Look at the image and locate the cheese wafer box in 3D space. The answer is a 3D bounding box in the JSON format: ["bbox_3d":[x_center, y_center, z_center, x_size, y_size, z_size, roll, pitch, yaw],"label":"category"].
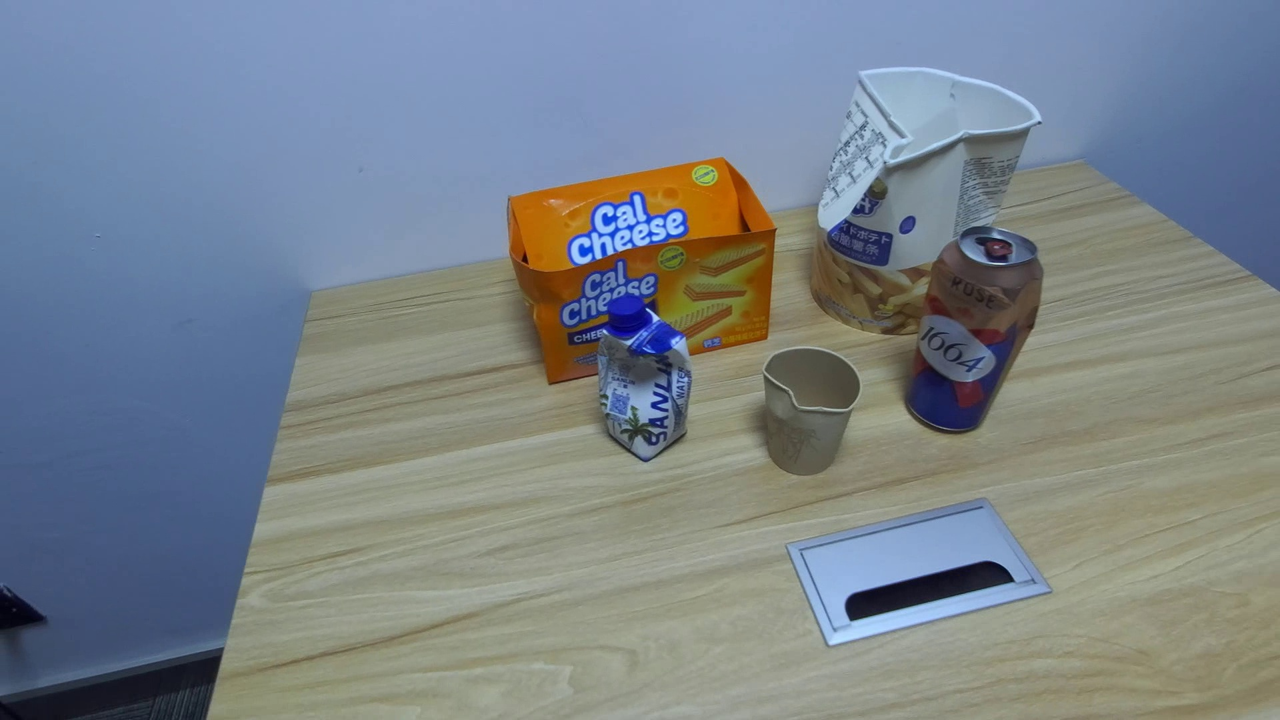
[{"bbox_3d":[-0.002,-0.086,0.681,0.231,0.132,0.151,-11,44,-7],"label":"cheese wafer box"}]

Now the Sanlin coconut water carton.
[{"bbox_3d":[0.002,0.019,0.552,0.057,0.145,0.068,-39,59,-23],"label":"Sanlin coconut water carton"}]

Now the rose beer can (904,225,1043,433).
[{"bbox_3d":[0.261,-0.020,0.557,0.065,0.167,0.075,-16,40,-17],"label":"rose beer can"}]

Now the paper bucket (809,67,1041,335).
[{"bbox_3d":[0.243,-0.150,0.677,0.169,0.202,0.162,-16,42,-16],"label":"paper bucket"}]

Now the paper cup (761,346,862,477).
[{"bbox_3d":[0.131,0.043,0.555,0.073,0.081,0.069,1,41,5],"label":"paper cup"}]
